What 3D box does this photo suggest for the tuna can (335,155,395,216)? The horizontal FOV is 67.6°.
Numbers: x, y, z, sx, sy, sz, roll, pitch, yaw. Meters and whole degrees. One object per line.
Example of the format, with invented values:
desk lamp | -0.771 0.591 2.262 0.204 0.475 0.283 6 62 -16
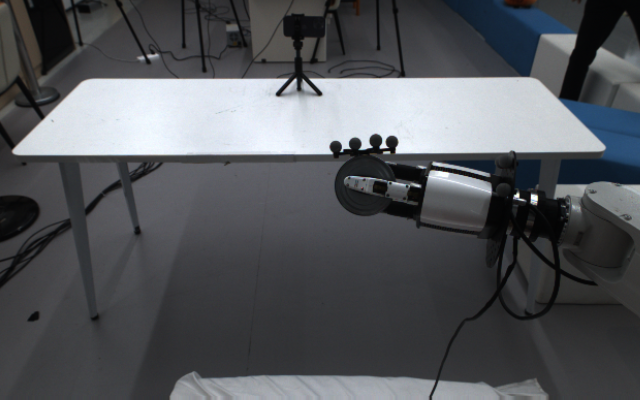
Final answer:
tuna can | 0.066 -0.021 0.683 0.085 0.085 0.034 11 0 12
